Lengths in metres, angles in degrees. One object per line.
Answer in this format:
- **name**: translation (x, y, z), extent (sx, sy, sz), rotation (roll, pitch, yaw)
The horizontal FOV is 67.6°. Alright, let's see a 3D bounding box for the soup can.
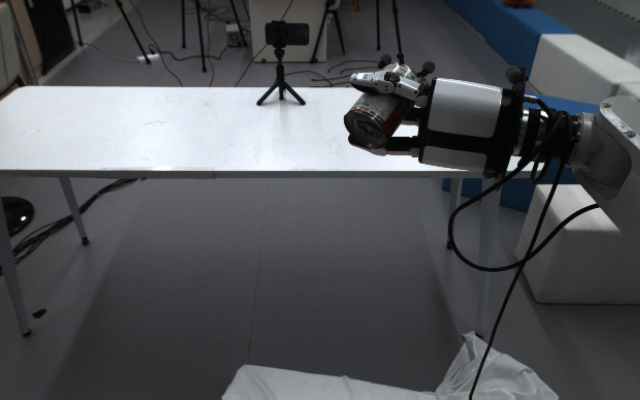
- **soup can**: translation (0.088, -0.131, 0.661), extent (0.067, 0.067, 0.101), rotation (25, 66, 30)
